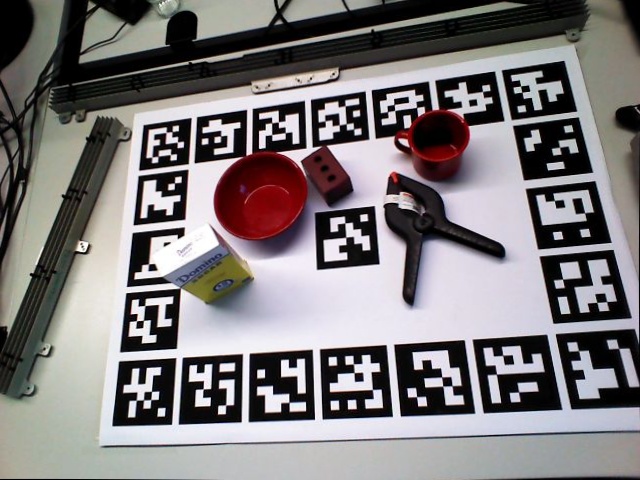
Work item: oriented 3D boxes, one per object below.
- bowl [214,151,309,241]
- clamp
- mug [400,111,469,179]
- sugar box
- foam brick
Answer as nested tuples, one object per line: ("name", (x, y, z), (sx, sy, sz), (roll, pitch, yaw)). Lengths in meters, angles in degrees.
("bowl", (-0.091, -0.066, 0.864), (0.162, 0.055, 0.161), (-4, 70, 10))
("clamp", (0.162, -0.023, 0.798), (0.166, 0.036, 0.202), (-29, 69, 3))
("mug", (0.184, -0.152, 0.818), (0.117, 0.081, 0.093), (19, 76, 14))
("sugar box", (-0.169, 0.047, 0.777), (0.093, 0.176, 0.045), (-30, 69, -1))
("foam brick", (0.023, -0.102, 0.860), (0.053, 0.051, 0.078), (-32, 69, 1))
